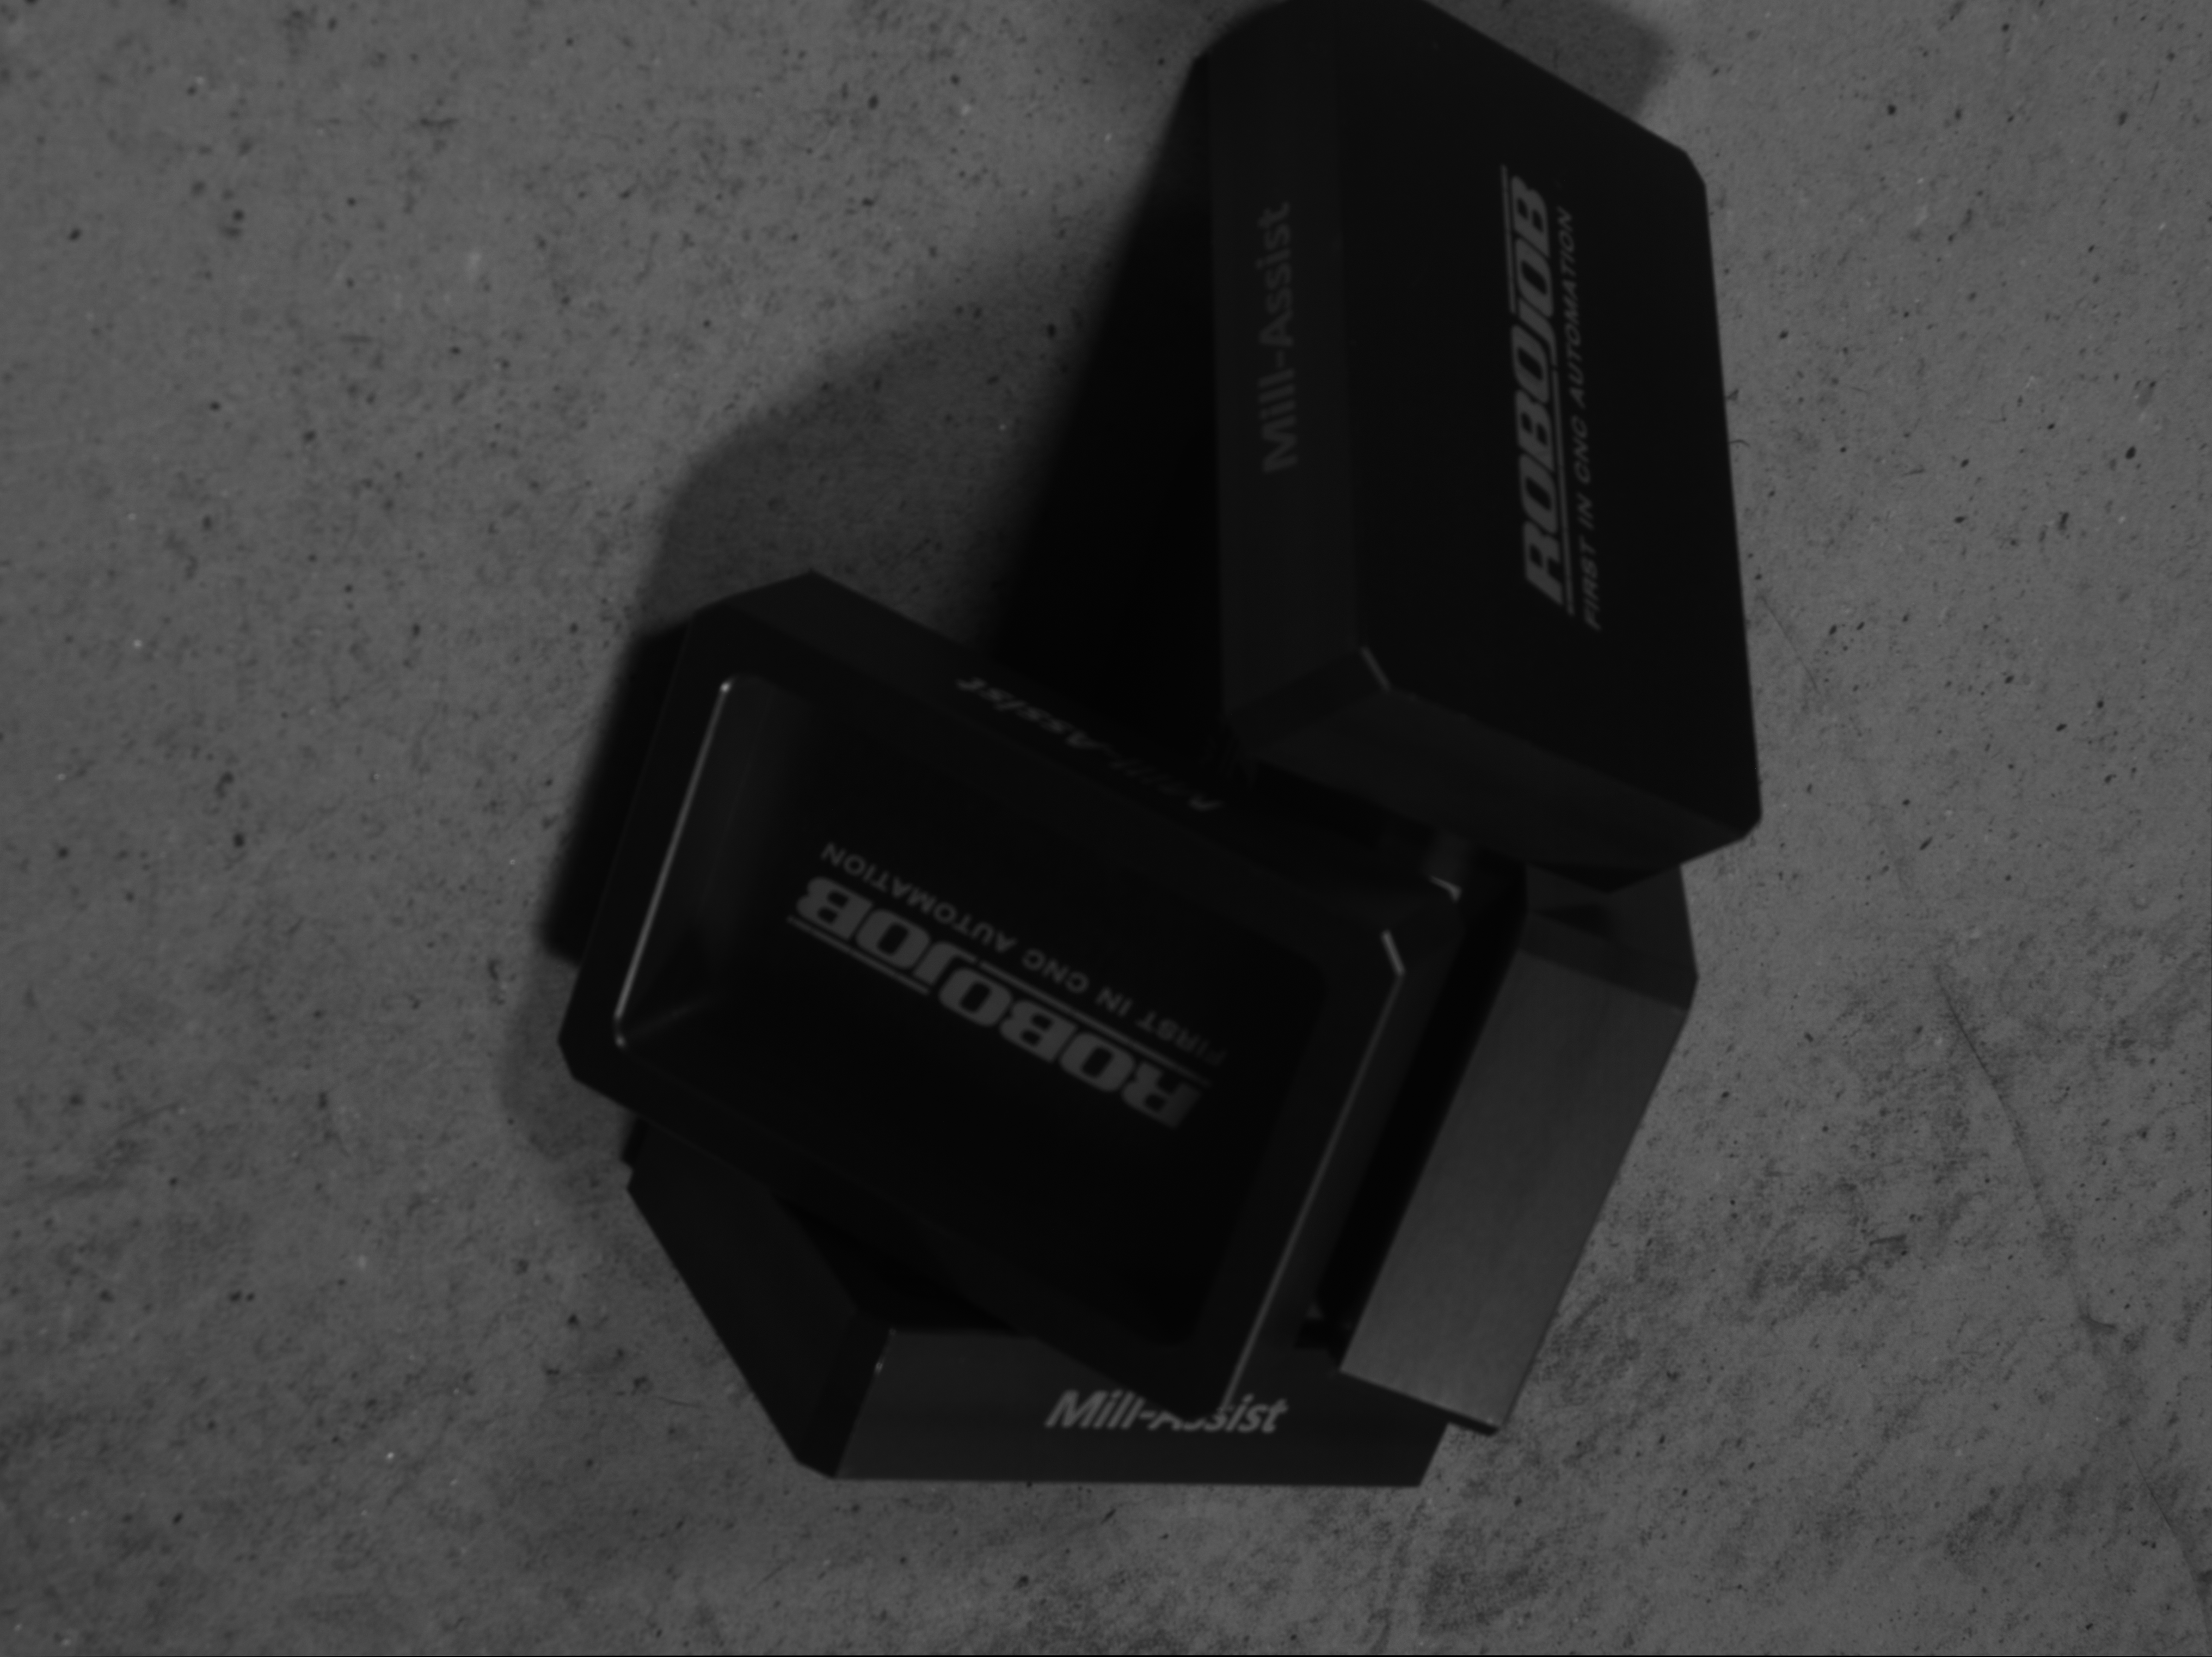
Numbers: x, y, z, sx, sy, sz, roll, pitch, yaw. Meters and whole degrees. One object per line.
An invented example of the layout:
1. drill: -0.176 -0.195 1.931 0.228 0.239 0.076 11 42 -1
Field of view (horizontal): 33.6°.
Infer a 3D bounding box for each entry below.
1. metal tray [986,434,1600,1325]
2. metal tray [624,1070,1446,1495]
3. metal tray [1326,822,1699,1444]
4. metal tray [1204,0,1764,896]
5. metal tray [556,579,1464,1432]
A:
1. metal tray: 0.027 0.009 0.629 0.030 0.090 0.130 8 114 -33
2. metal tray: -0.009 0.079 0.651 0.130 0.090 0.030 8 114 -33
3. metal tray: 0.071 0.038 0.650 0.030 0.130 0.090 20 111 -2
4. metal tray: 0.060 -0.063 0.587 0.090 0.130 0.030 19 148 -37
5. metal tray: -0.018 0.027 0.594 0.030 0.130 0.090 -26 140 -63
